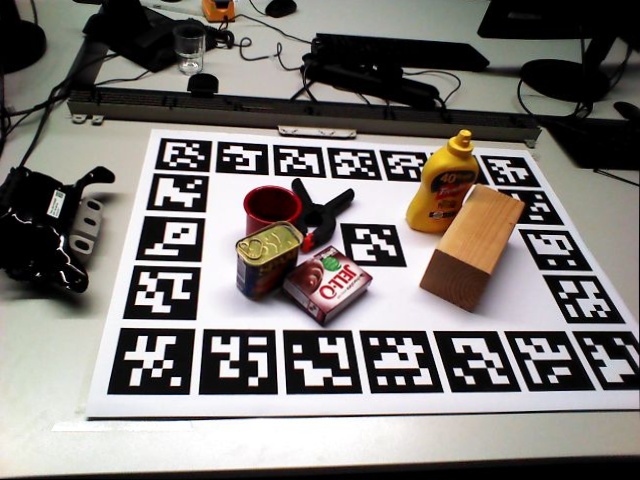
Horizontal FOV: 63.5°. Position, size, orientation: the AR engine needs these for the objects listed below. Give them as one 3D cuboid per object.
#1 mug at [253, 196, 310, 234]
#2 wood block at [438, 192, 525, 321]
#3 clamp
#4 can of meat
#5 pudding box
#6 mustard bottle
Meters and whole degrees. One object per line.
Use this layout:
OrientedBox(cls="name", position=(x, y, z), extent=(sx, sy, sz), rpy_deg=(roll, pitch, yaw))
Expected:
OrientedBox(cls="mug", position=(-0.060, -0.020, 0.855), extent=(0.093, 0.082, 0.116), rpy_deg=(18, 47, 7))
OrientedBox(cls="wood block", position=(0.282, 0.020, 0.844), extent=(0.090, 0.091, 0.204), rpy_deg=(28, 46, 19))
OrientedBox(cls="clamp", position=(0.018, -0.042, 0.897), extent=(0.122, 0.037, 0.164), rpy_deg=(17, 47, 4))
OrientedBox(cls="can of meat", position=(-0.059, 0.037, 0.759), extent=(0.101, 0.084, 0.058), rpy_deg=(-23, 55, -29))
OrientedBox(cls="pudding box", position=(0.036, 0.075, 0.778), extent=(0.113, 0.039, 0.090), rpy_deg=(-31, 59, -35))
OrientedBox(cls="mustard bottle", position=(0.240, -0.094, 0.870), extent=(0.096, 0.192, 0.058), rpy_deg=(-2, 47, -11))
